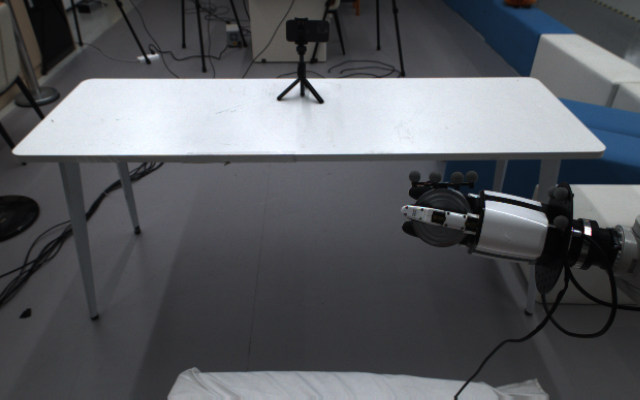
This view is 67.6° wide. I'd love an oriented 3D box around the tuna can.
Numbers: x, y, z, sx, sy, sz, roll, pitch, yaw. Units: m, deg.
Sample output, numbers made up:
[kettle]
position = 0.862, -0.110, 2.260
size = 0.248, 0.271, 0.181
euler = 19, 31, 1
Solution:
[tuna can]
position = 0.180, 0.024, 0.707
size = 0.085, 0.085, 0.034
euler = 13, 7, 15
